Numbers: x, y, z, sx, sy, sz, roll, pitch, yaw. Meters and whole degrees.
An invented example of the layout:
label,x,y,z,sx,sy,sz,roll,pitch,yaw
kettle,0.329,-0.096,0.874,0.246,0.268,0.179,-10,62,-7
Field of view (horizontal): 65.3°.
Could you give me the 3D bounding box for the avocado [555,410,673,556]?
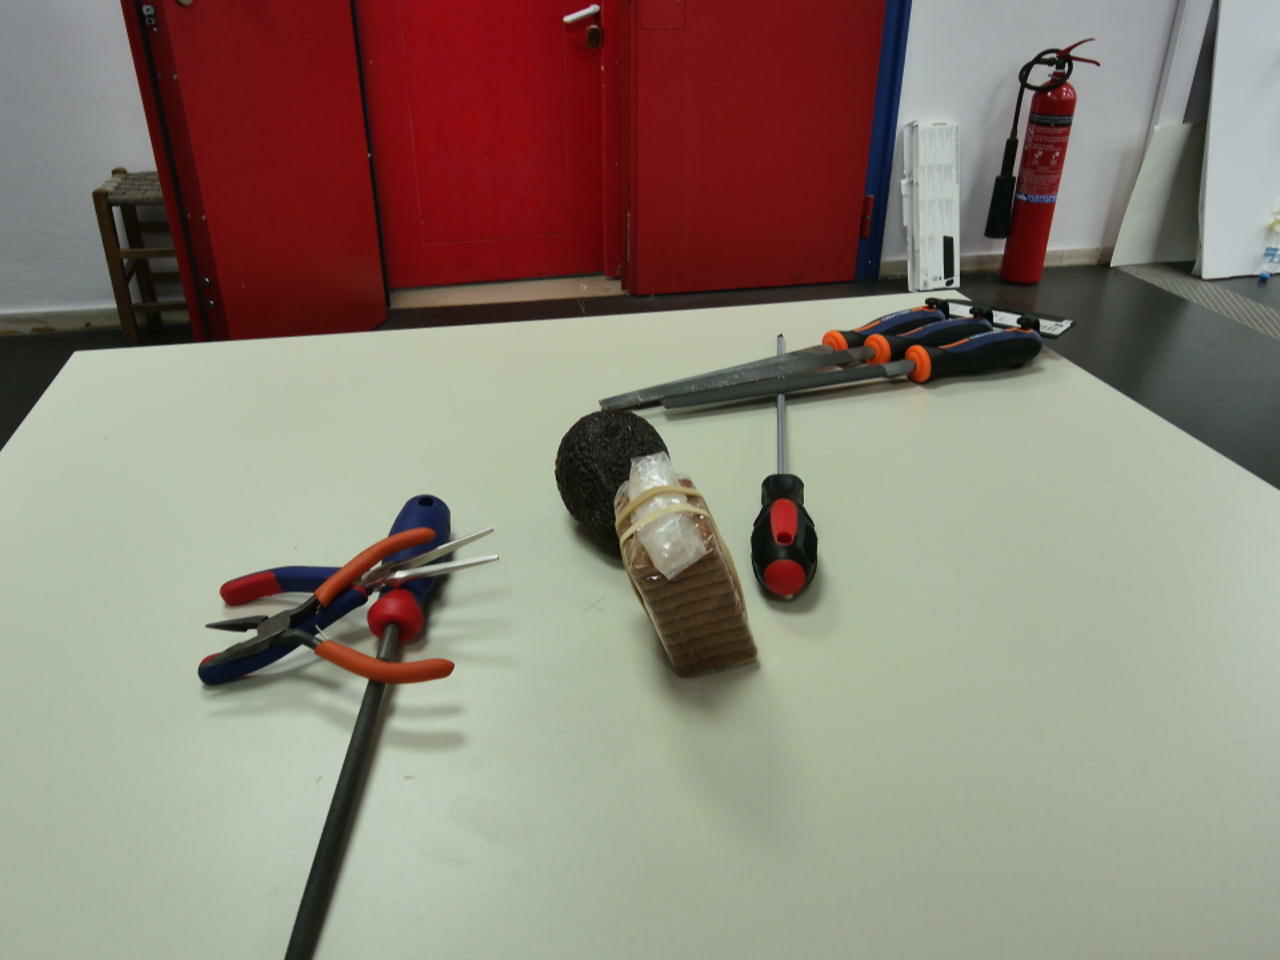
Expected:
label,x,y,z,sx,sy,sz,roll,pitch,yaw
avocado,-0.016,-0.002,0.579,0.070,0.069,0.090,7,27,11
